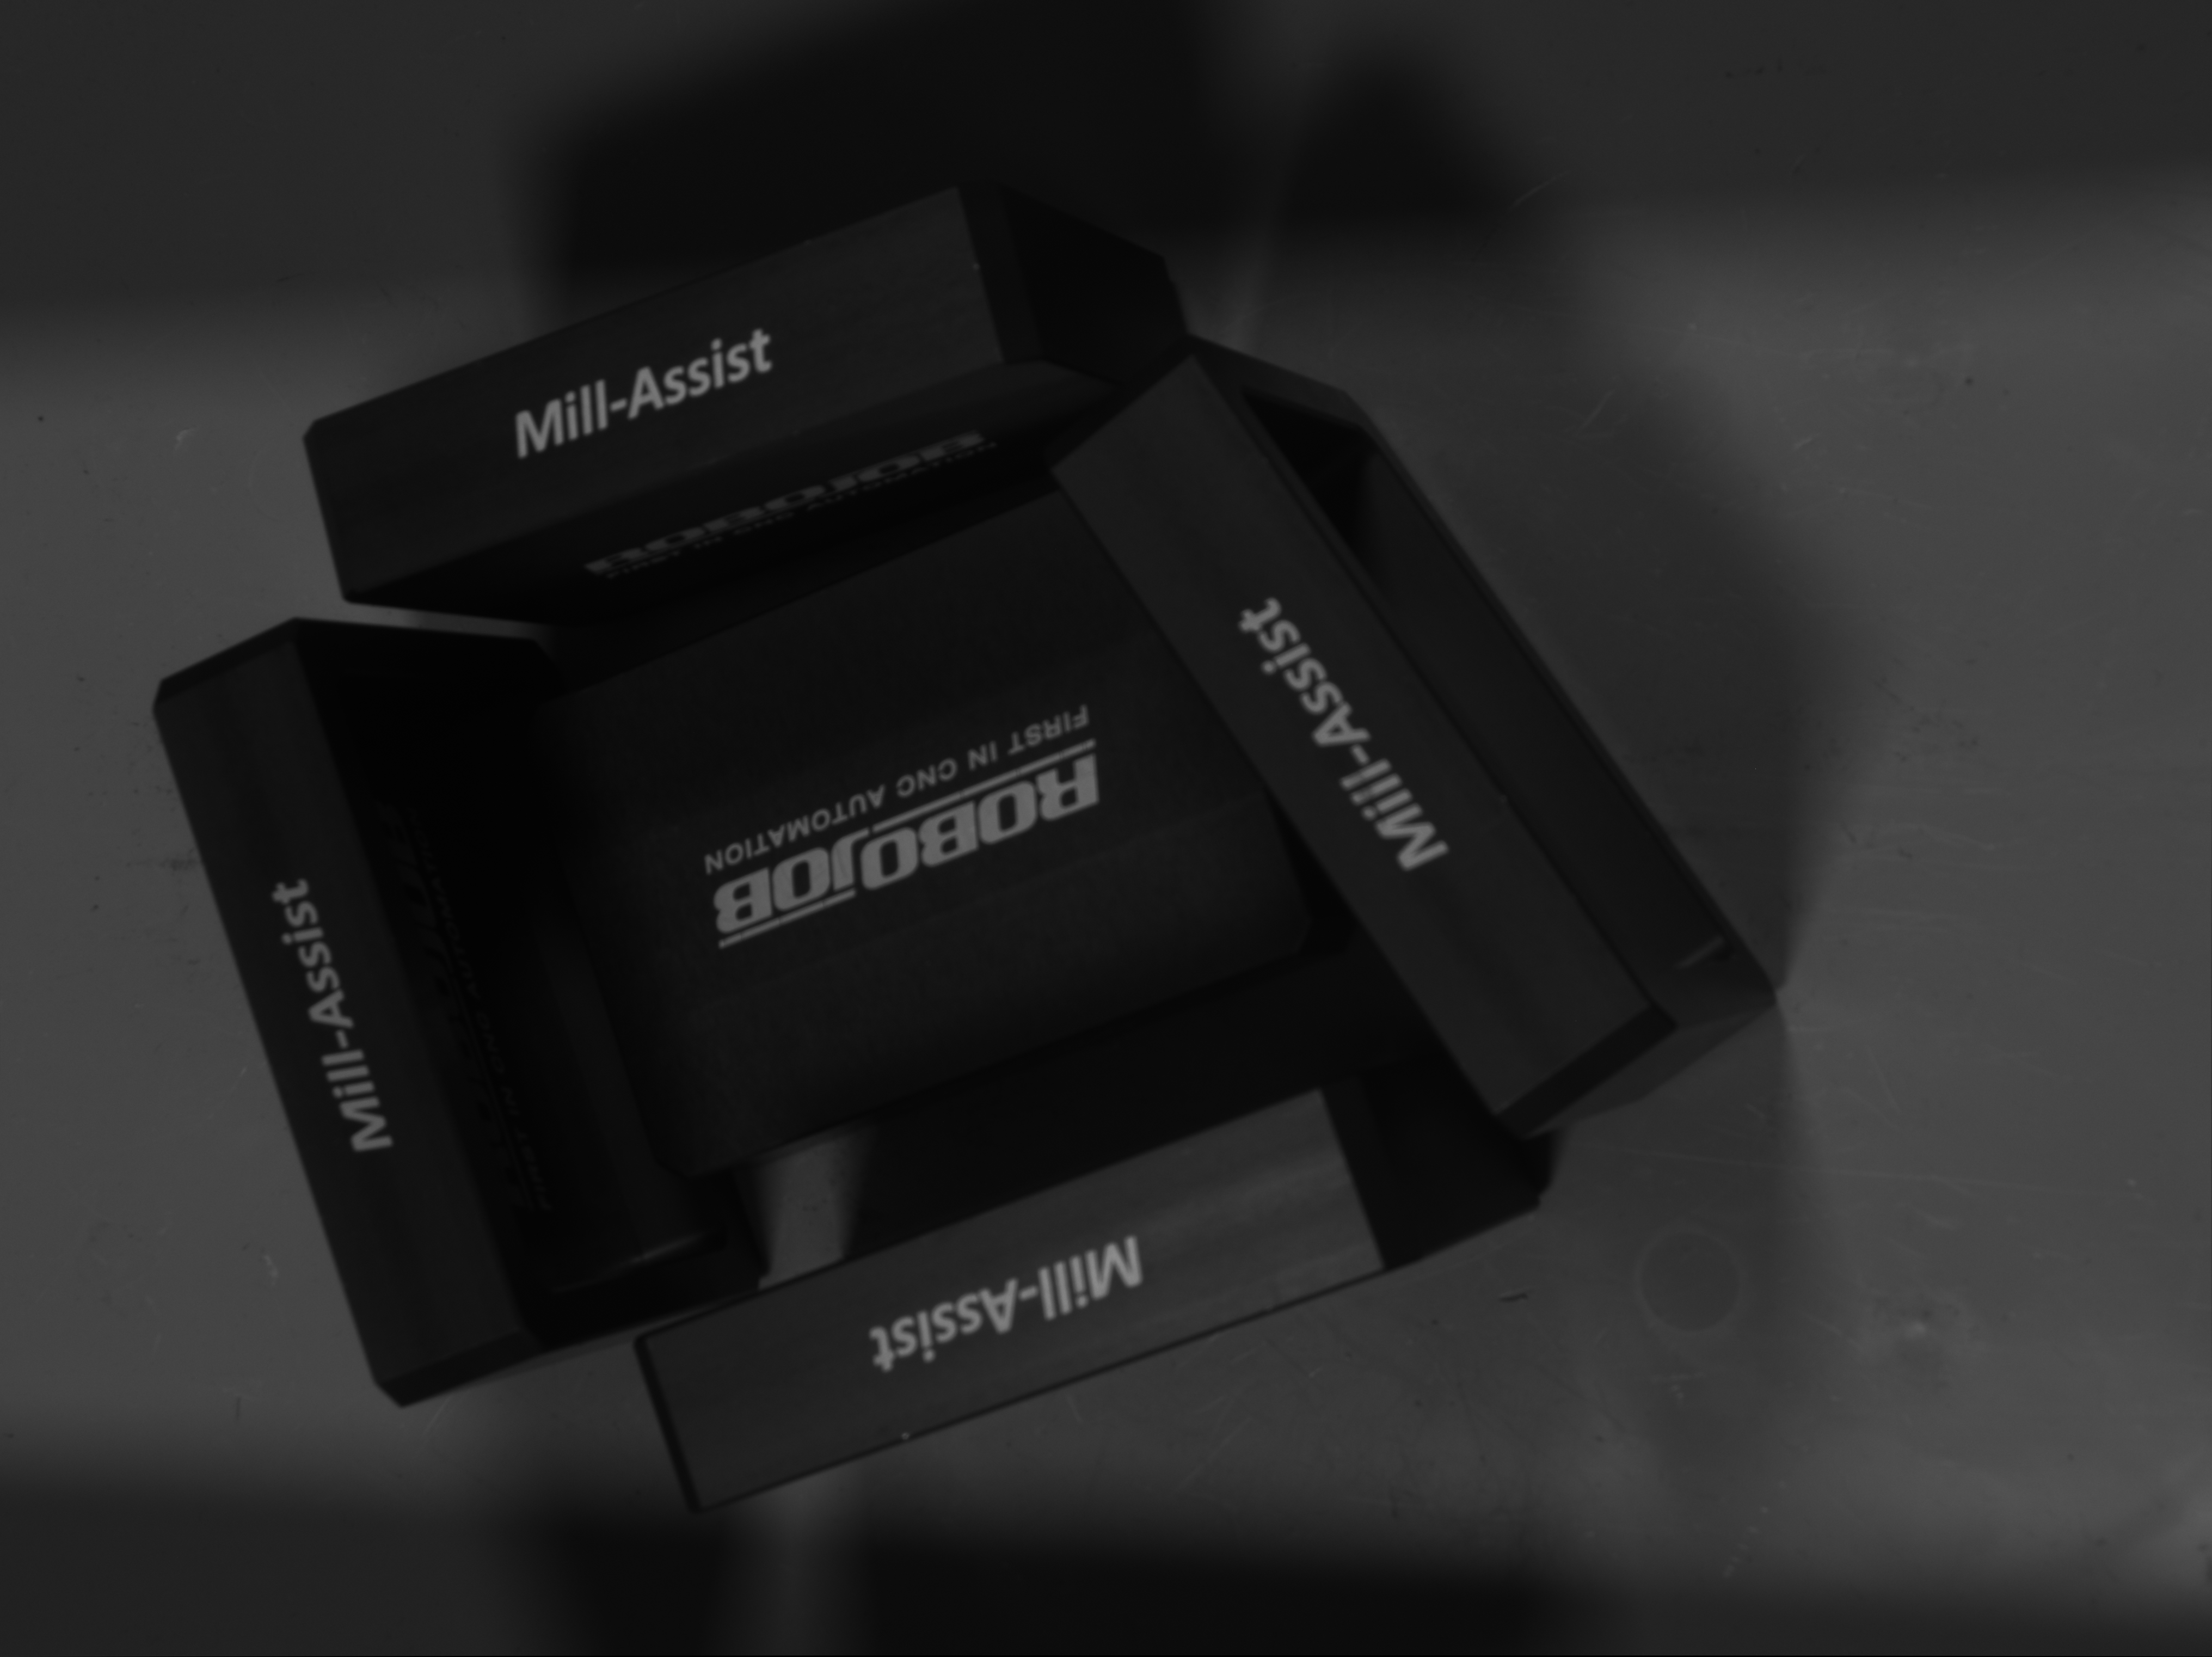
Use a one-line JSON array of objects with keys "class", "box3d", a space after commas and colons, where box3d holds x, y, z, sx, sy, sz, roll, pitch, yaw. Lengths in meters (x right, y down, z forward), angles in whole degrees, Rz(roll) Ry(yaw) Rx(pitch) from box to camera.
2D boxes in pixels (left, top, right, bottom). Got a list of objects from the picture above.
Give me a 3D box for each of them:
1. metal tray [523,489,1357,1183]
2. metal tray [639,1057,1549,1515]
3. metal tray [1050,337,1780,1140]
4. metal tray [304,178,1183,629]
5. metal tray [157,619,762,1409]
[{"class": "metal tray", "box3d": [-0.030, 0.000, 0.650, 0.130, 0.030, 0.090, -21, 83, 18]}, {"class": "metal tray", "box3d": [0.000, 0.074, 0.608, 0.130, 0.090, 0.030, -22, 83, 18]}, {"class": "metal tray", "box3d": [0.052, -0.015, 0.590, 0.030, 0.090, 0.130, -38, 78, 17]}, {"class": "metal tray", "box3d": [-0.058, -0.070, 0.629, 0.130, 0.090, 0.030, -17, 84, 19]}, {"class": "metal tray", "box3d": [-0.112, 0.031, 0.648, 0.030, 0.090, 0.130, -22, 83, 18]}]
